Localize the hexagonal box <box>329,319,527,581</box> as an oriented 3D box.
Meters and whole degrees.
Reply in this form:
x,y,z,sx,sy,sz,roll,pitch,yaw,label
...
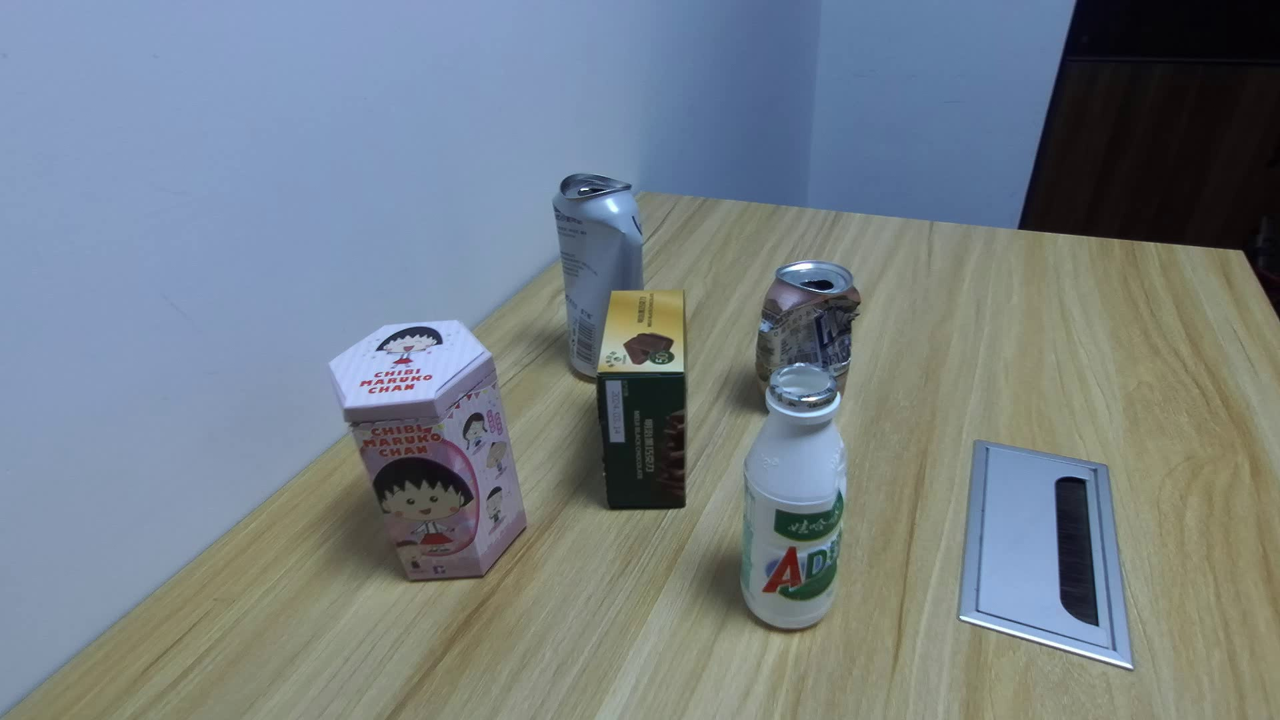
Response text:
x,y,z,sx,sy,sz,roll,pitch,yaw,label
-0.122,0.056,0.420,0.091,0.136,0.083,-4,32,-1,hexagonal box

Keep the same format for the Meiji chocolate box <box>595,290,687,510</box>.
x,y,z,sx,sy,sz,roll,pitch,yaw,label
0.004,0.024,0.477,0.056,0.109,0.110,-1,33,4,Meiji chocolate box

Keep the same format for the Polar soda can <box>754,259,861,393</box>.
x,y,z,sx,sy,sz,roll,pitch,yaw,label
0.125,-0.016,0.526,0.070,0.114,0.074,10,39,11,Polar soda can

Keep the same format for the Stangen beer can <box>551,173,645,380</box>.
x,y,z,sx,sy,sz,roll,pitch,yaw,label
-0.029,-0.063,0.565,0.077,0.162,0.066,3,33,10,Stangen beer can

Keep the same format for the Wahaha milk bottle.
x,y,z,sx,sy,sz,roll,pitch,yaw,label
0.080,0.076,0.362,0.053,0.137,0.053,-3,32,2,Wahaha milk bottle
